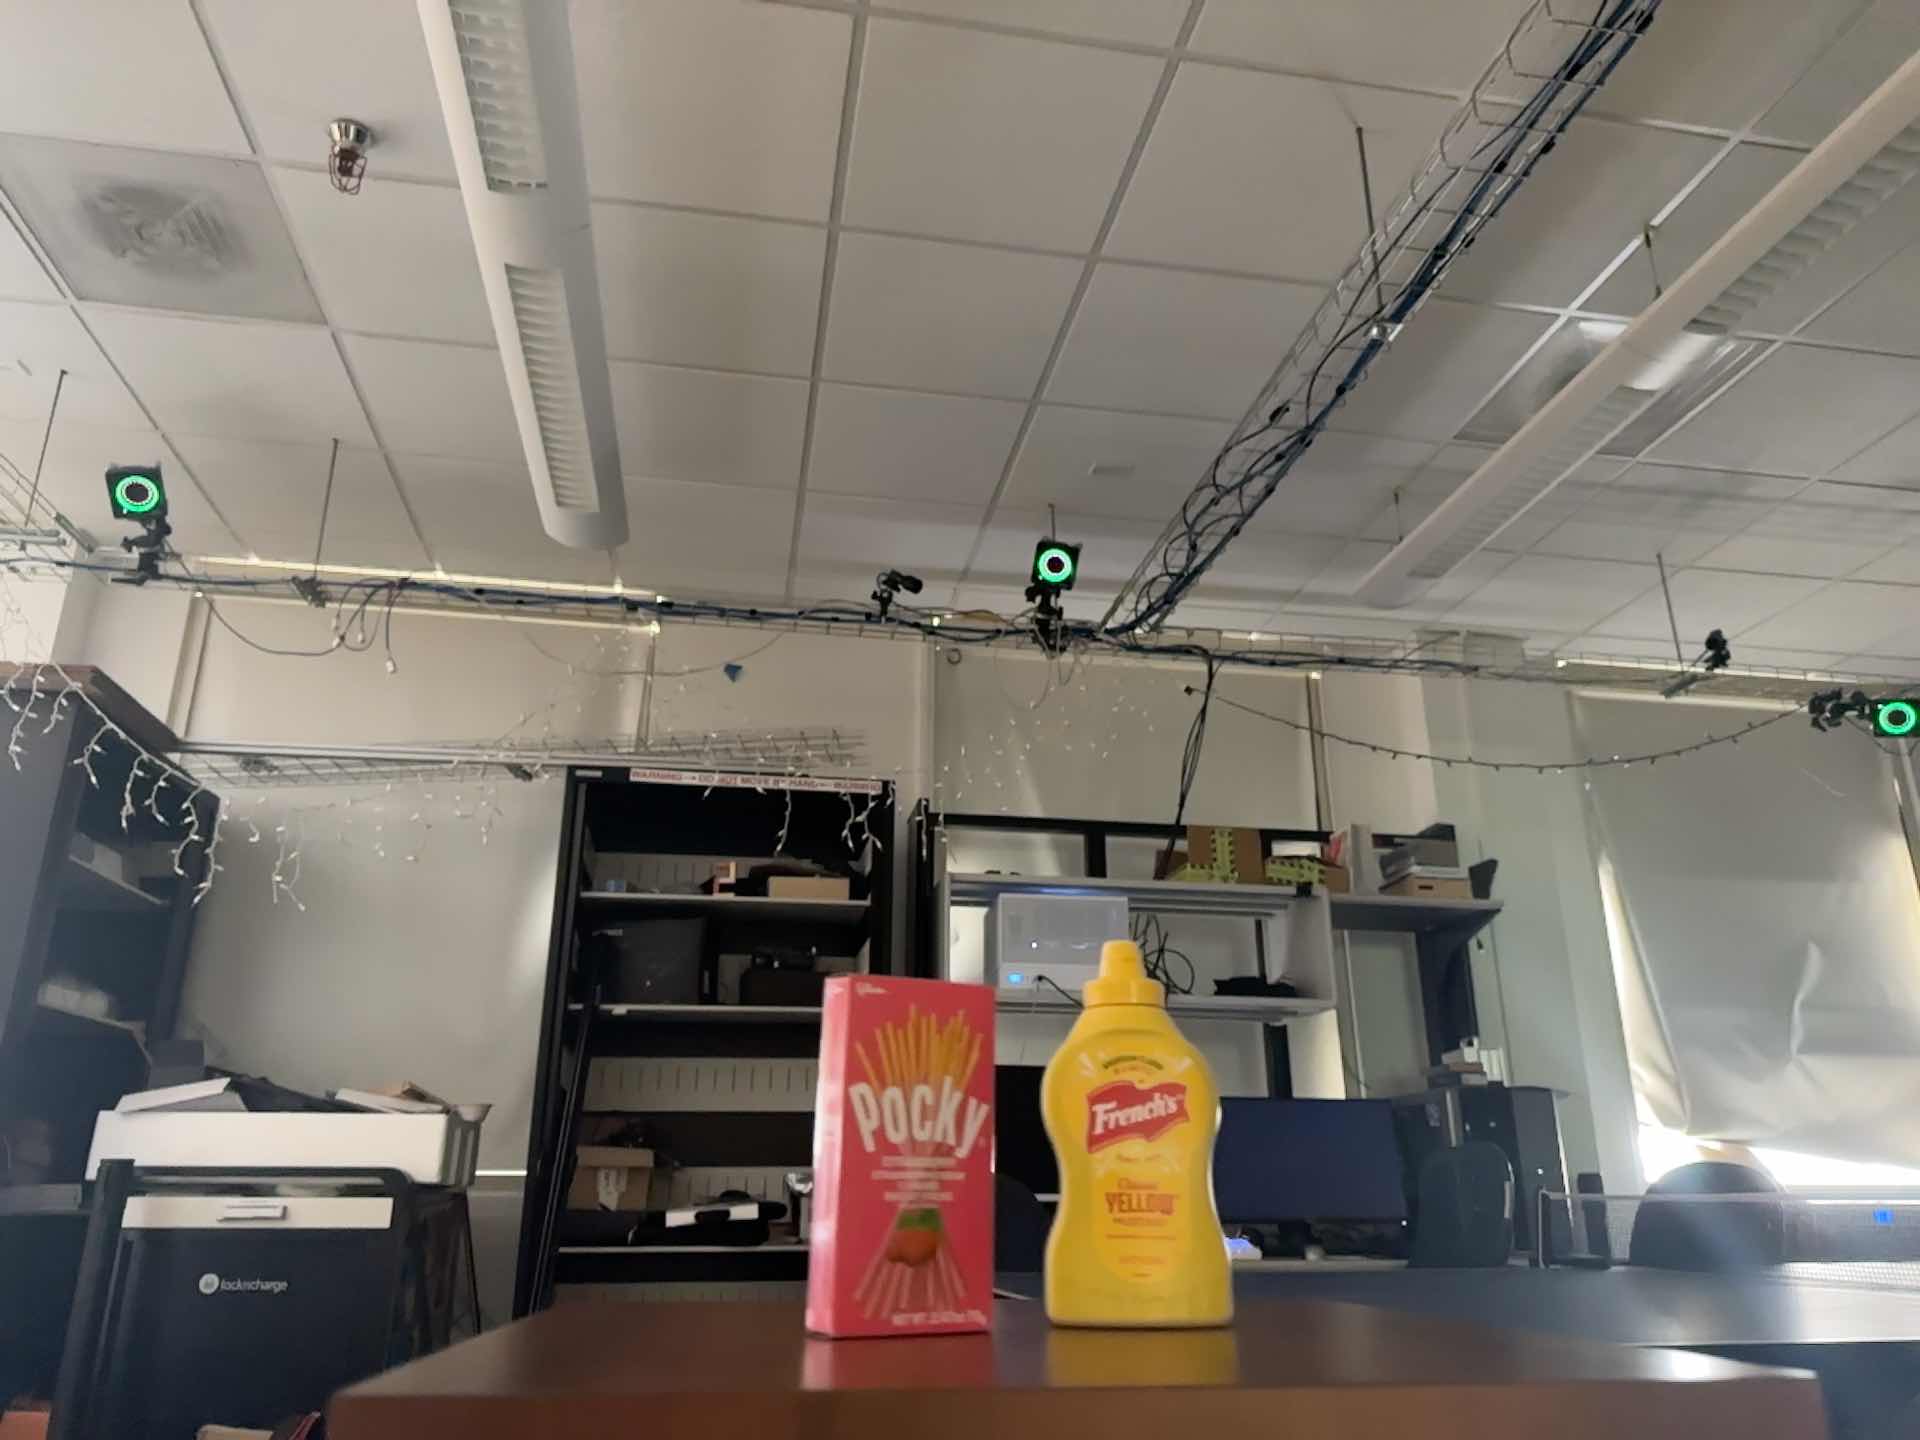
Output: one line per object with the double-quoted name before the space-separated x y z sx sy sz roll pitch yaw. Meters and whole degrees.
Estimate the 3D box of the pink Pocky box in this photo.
"pink Pocky box" -0.024 0.194 0.614 0.084 0.154 0.029 10 -19 -23

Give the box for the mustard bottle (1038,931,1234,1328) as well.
"mustard bottle" 0.084 0.197 0.665 0.092 0.184 0.054 1 -14 -4
